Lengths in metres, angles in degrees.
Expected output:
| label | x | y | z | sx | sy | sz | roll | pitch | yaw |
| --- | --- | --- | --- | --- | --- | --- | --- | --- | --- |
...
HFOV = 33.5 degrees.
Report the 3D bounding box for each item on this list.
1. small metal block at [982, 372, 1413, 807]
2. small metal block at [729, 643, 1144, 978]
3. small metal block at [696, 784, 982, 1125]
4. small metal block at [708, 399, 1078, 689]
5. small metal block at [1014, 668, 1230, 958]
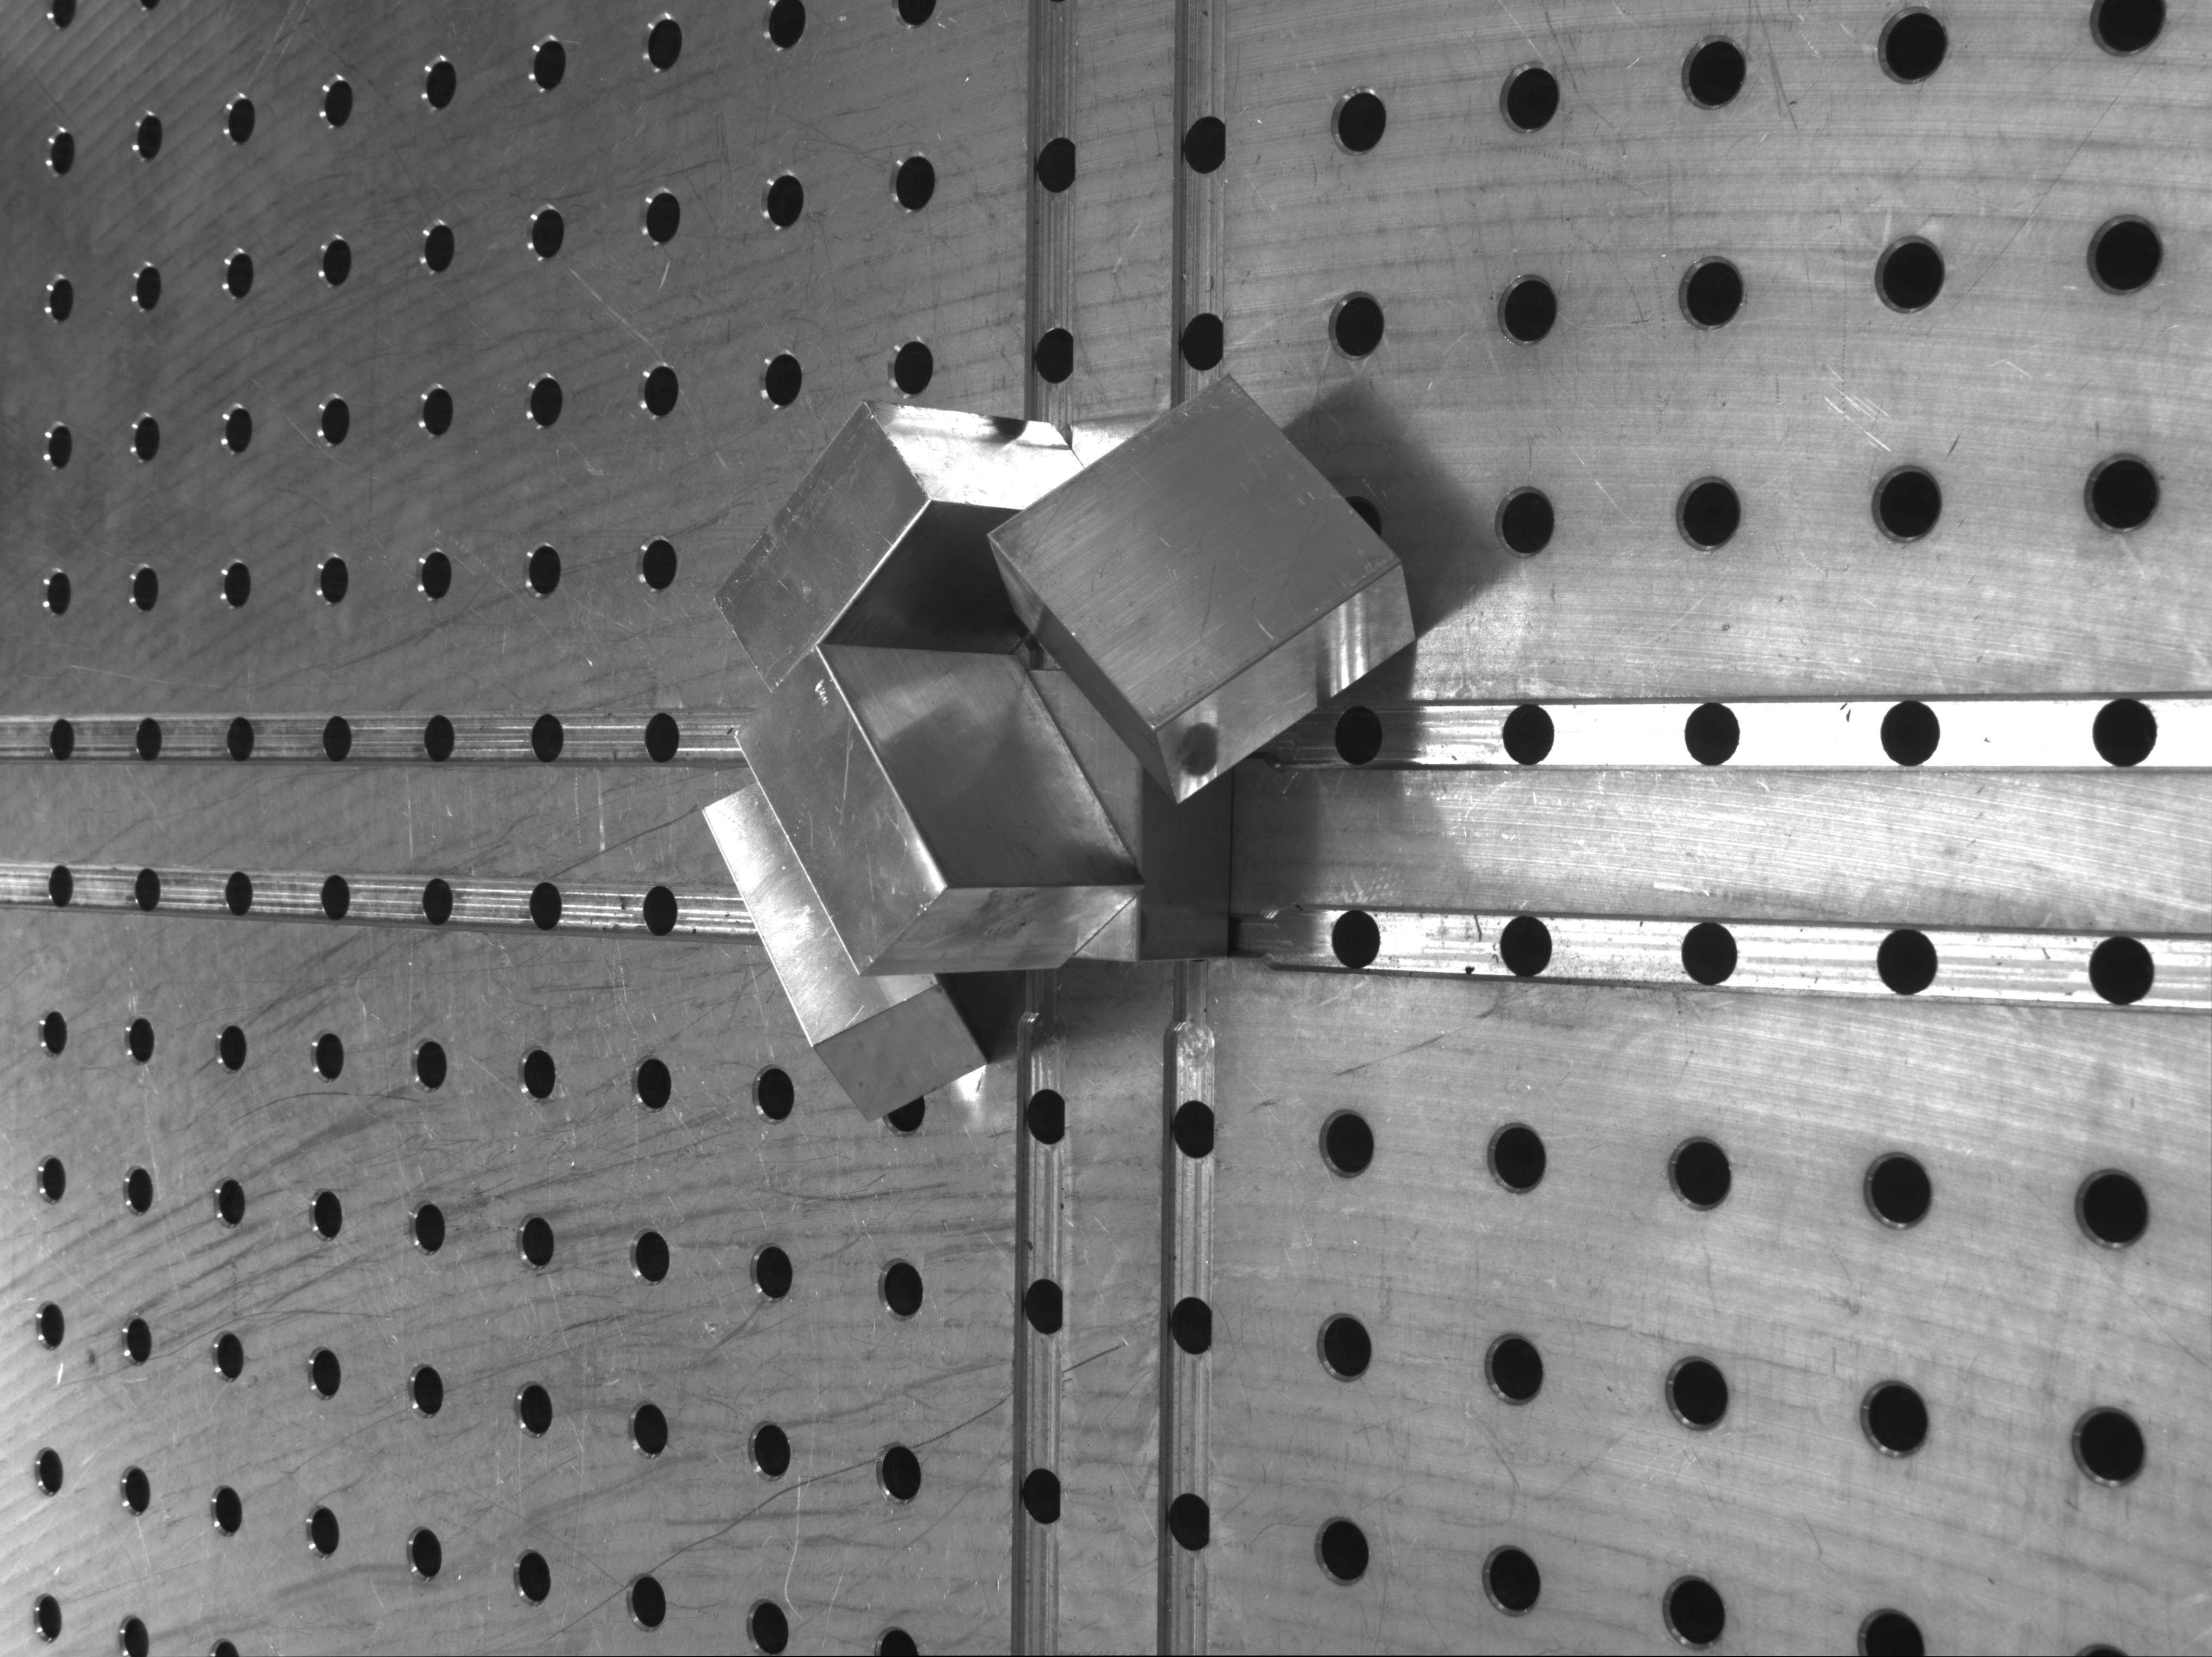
| label | x | y | z | sx | sy | sz | roll | pitch | yaw |
| --- | --- | --- | --- | --- | --- | --- | --- | --- | --- |
| small metal block | 0.016 | -0.041 | 0.618 | 0.050 | 0.025 | 0.050 | -35 | 61 | -9 |
| small metal block | -0.029 | -0.003 | 0.624 | 0.025 | 0.050 | 0.050 | -43 | 64 | 31 |
| small metal block | -0.048 | 0.020 | 0.669 | 0.025 | 0.050 | 0.050 | -26 | 69 | -2 |
| small metal block | -0.035 | -0.048 | 0.662 | 0.050 | 0.050 | 0.025 | -49 | 61 | 29 |
| small metal block | -0.005 | -0.003 | 0.653 | 0.050 | 0.025 | 0.050 | 1 | 90 | 39 |
